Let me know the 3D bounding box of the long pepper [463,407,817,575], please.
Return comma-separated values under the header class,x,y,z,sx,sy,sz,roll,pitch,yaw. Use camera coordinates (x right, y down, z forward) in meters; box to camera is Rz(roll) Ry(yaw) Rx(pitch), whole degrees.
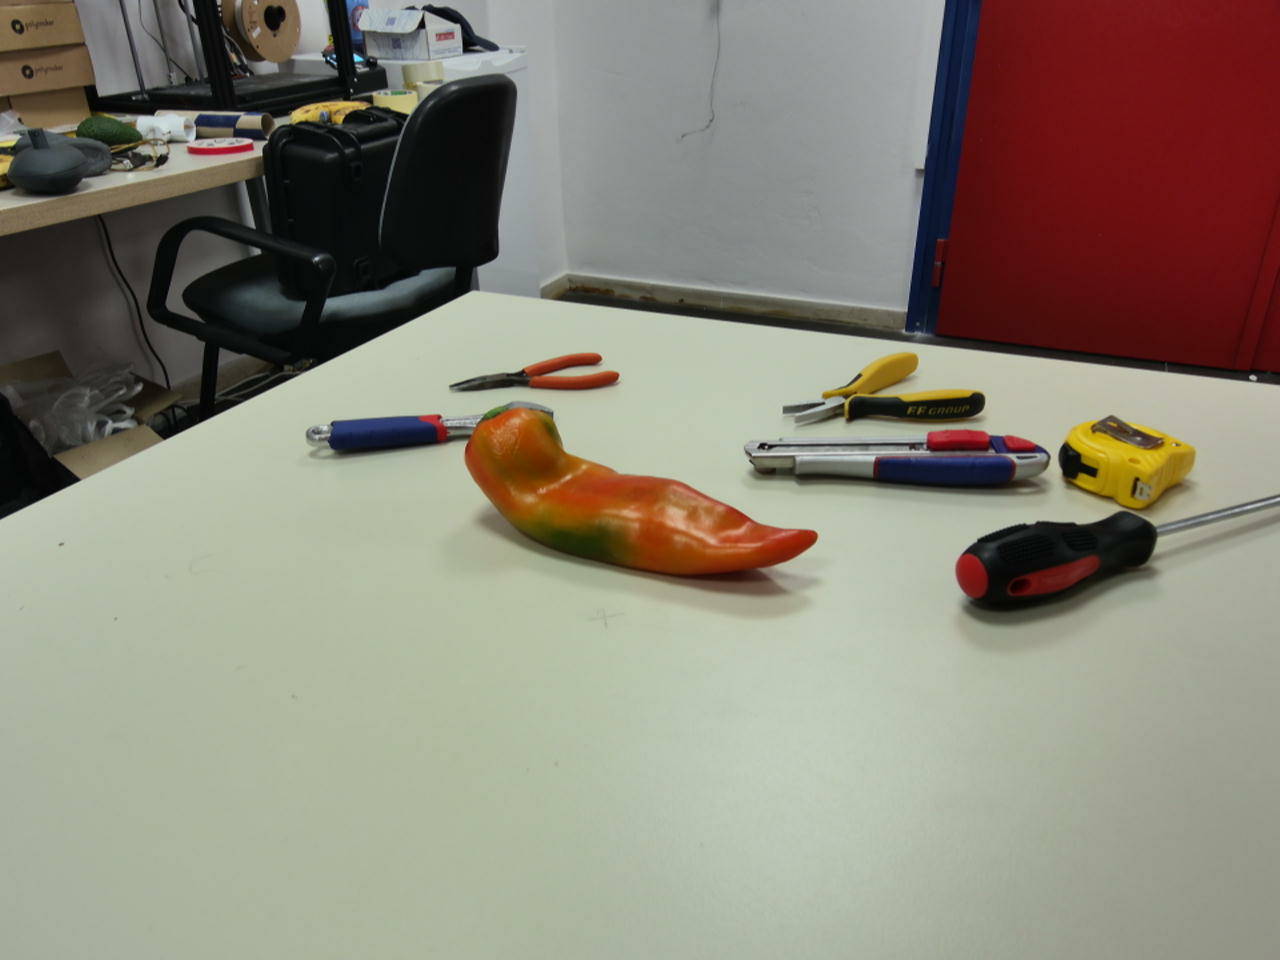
class,x,y,z,sx,sy,sz,roll,pitch,yaw
long pepper,-0.006,0.006,0.520,0.199,0.065,0.066,13,28,27
